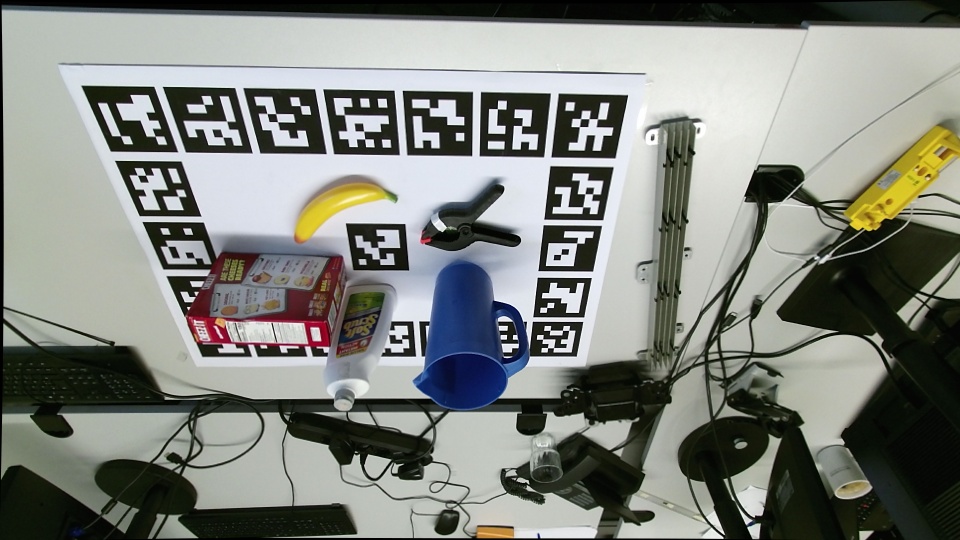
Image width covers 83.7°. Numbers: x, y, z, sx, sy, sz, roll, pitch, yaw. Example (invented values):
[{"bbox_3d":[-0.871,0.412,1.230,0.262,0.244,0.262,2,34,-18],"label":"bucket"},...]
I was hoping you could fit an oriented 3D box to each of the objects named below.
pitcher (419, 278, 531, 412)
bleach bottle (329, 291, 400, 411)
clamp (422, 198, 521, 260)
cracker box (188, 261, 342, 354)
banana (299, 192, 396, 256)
[{"bbox_3d":[-0.012,0.124,0.908,0.189,0.241,0.133,-13,128,11],"label":"pitcher"},{"bbox_3d":[-0.202,0.141,0.939,0.103,0.249,0.068,0,129,-3],"label":"bleach bottle"},{"bbox_3d":[-0.021,-0.056,0.923,0.166,0.036,0.122,-11,129,9],"label":"clamp"},{"bbox_3d":[-0.354,0.063,0.907,0.214,0.163,0.072,1,131,-5],"label":"cracker box"},{"bbox_3d":[-0.241,-0.083,0.903,0.198,0.038,0.074,-27,125,18],"label":"banana"}]
